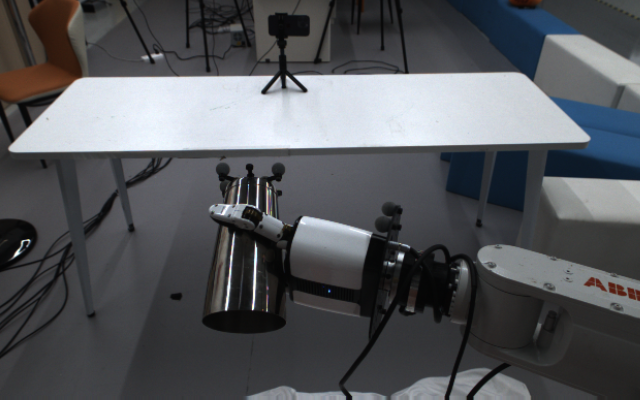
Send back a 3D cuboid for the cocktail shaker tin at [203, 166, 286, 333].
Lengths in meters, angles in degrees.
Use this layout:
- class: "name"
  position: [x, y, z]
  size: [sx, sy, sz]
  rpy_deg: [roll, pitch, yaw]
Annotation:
- class: "cocktail shaker tin"
  position: [-0.085, 0.061, 0.568]
  size: [0.093, 0.093, 0.170]
  rpy_deg: [0, 59, -3]
